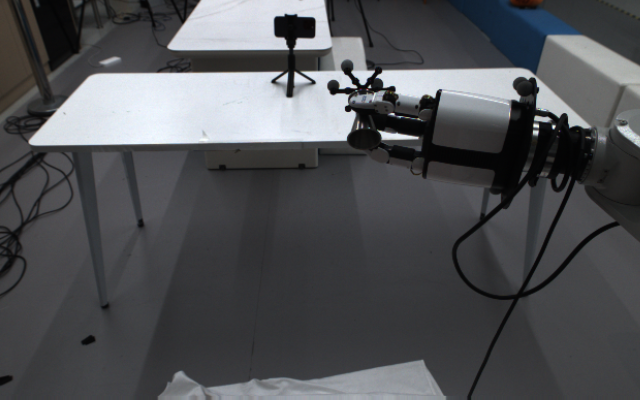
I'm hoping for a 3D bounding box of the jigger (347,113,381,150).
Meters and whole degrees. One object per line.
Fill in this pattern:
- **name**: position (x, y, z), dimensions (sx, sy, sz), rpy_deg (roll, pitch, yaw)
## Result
- **jigger**: position (0.057, -0.109, 0.627), dimensions (0.043, 0.043, 0.071), rpy_deg (2, 59, -1)
